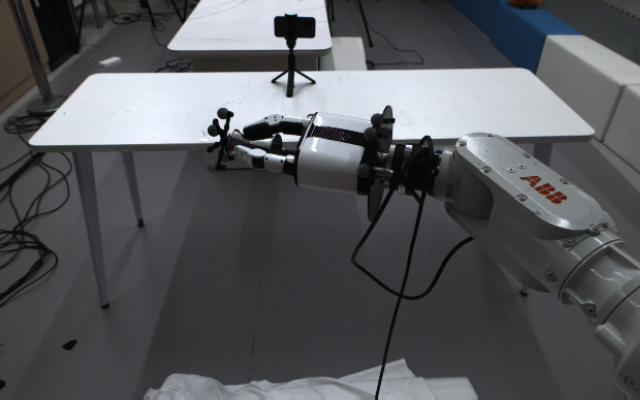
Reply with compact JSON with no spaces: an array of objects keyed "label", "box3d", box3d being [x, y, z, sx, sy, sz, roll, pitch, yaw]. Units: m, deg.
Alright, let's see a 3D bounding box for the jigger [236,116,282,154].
[{"label":"jigger","box3d":[-0.092,-0.082,0.704,0.071,0.043,0.043,10,36,15]}]
